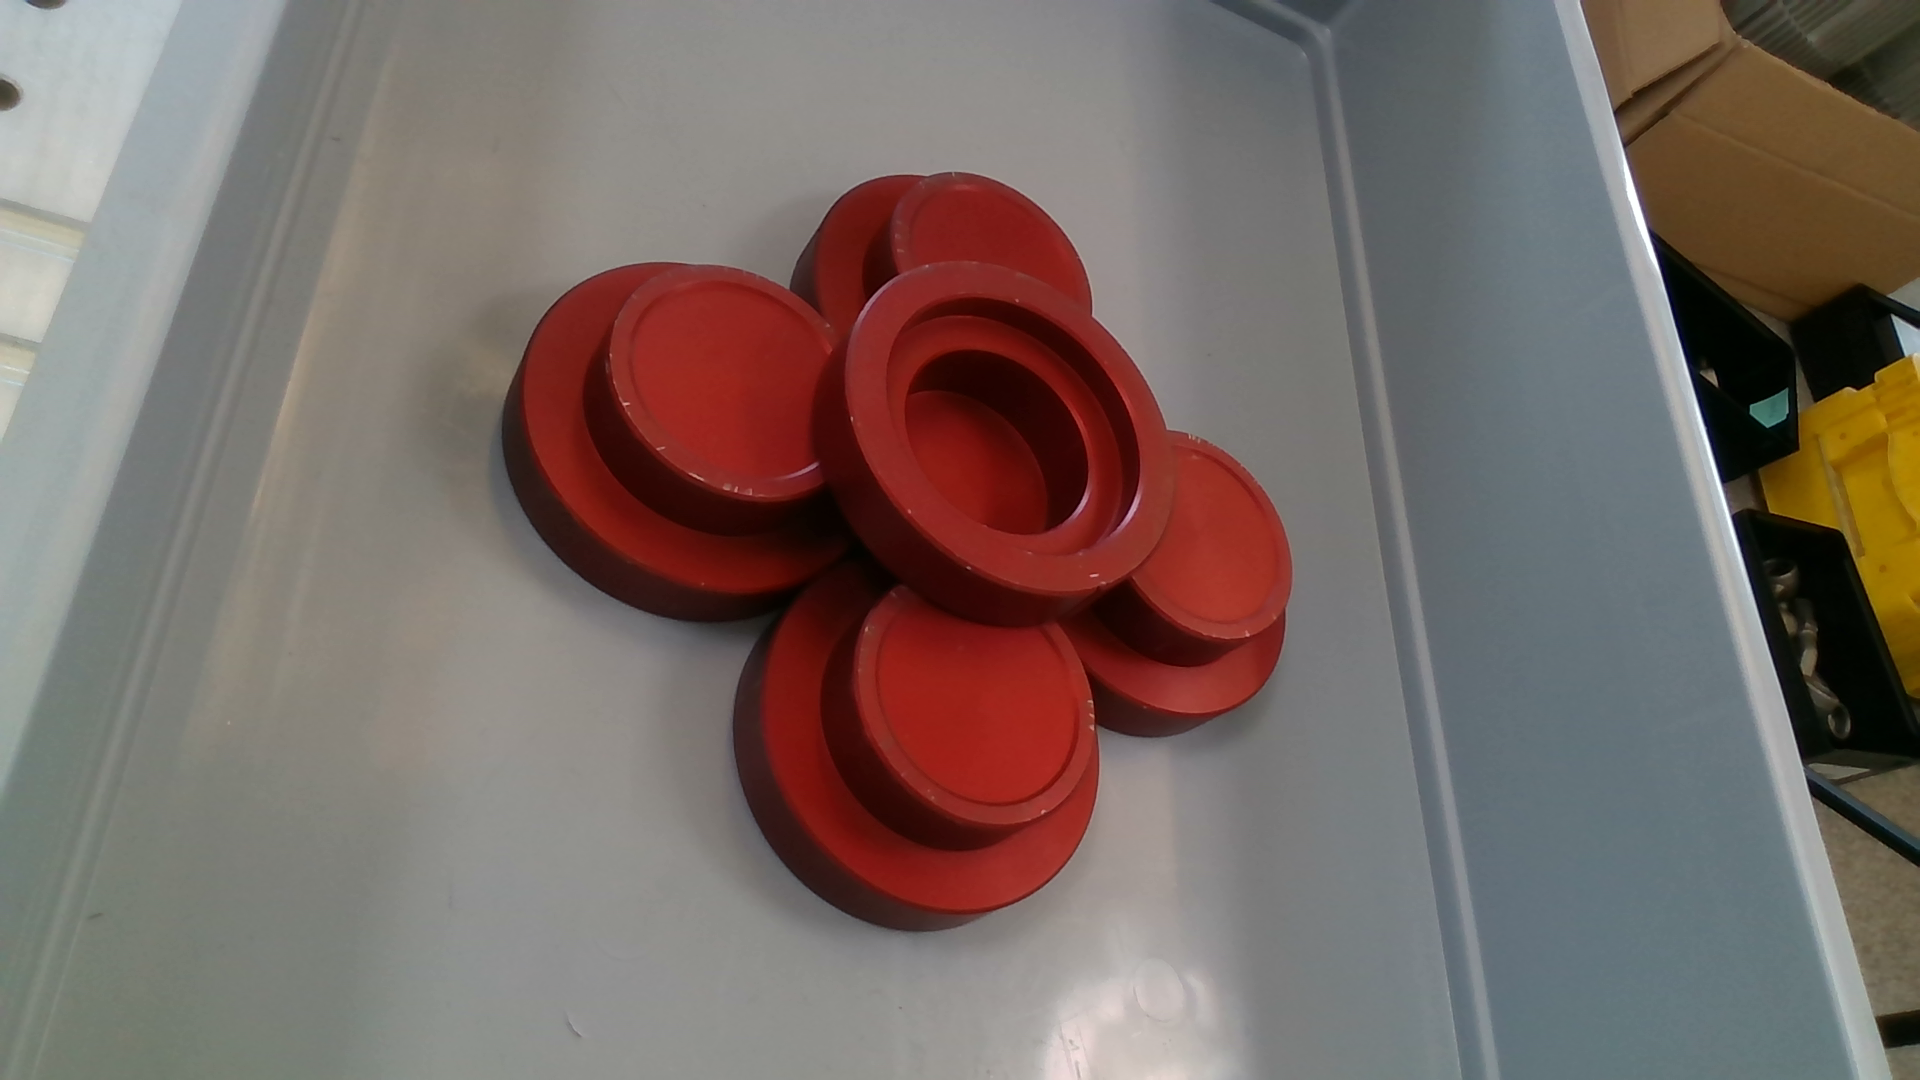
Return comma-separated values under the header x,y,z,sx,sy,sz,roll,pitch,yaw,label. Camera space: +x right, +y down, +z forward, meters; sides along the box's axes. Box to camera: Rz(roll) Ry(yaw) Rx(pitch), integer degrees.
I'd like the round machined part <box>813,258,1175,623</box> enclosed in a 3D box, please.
x,y,z,sx,sy,sz,roll,pitch,yaw,label
0.006,-0.023,0.369,0.098,0.042,0.098,14,59,-25,round machined part

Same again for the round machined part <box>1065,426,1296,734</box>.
x,y,z,sx,sy,sz,roll,pitch,yaw,label
0.061,0.005,0.414,0.098,0.042,0.098,14,59,-25,round machined part

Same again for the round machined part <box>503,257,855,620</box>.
x,y,z,sx,sy,sz,roll,pitch,yaw,label
-0.064,-0.032,0.358,0.098,0.042,0.098,15,60,-27,round machined part

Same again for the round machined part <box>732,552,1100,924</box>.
x,y,z,sx,sy,sz,roll,pitch,yaw,label
-0.005,0.046,0.353,0.098,0.042,0.098,14,59,-25,round machined part

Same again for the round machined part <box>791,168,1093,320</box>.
x,y,z,sx,sy,sz,roll,pitch,yaw,label
0.001,-0.073,0.419,0.098,0.042,0.098,14,59,-25,round machined part
